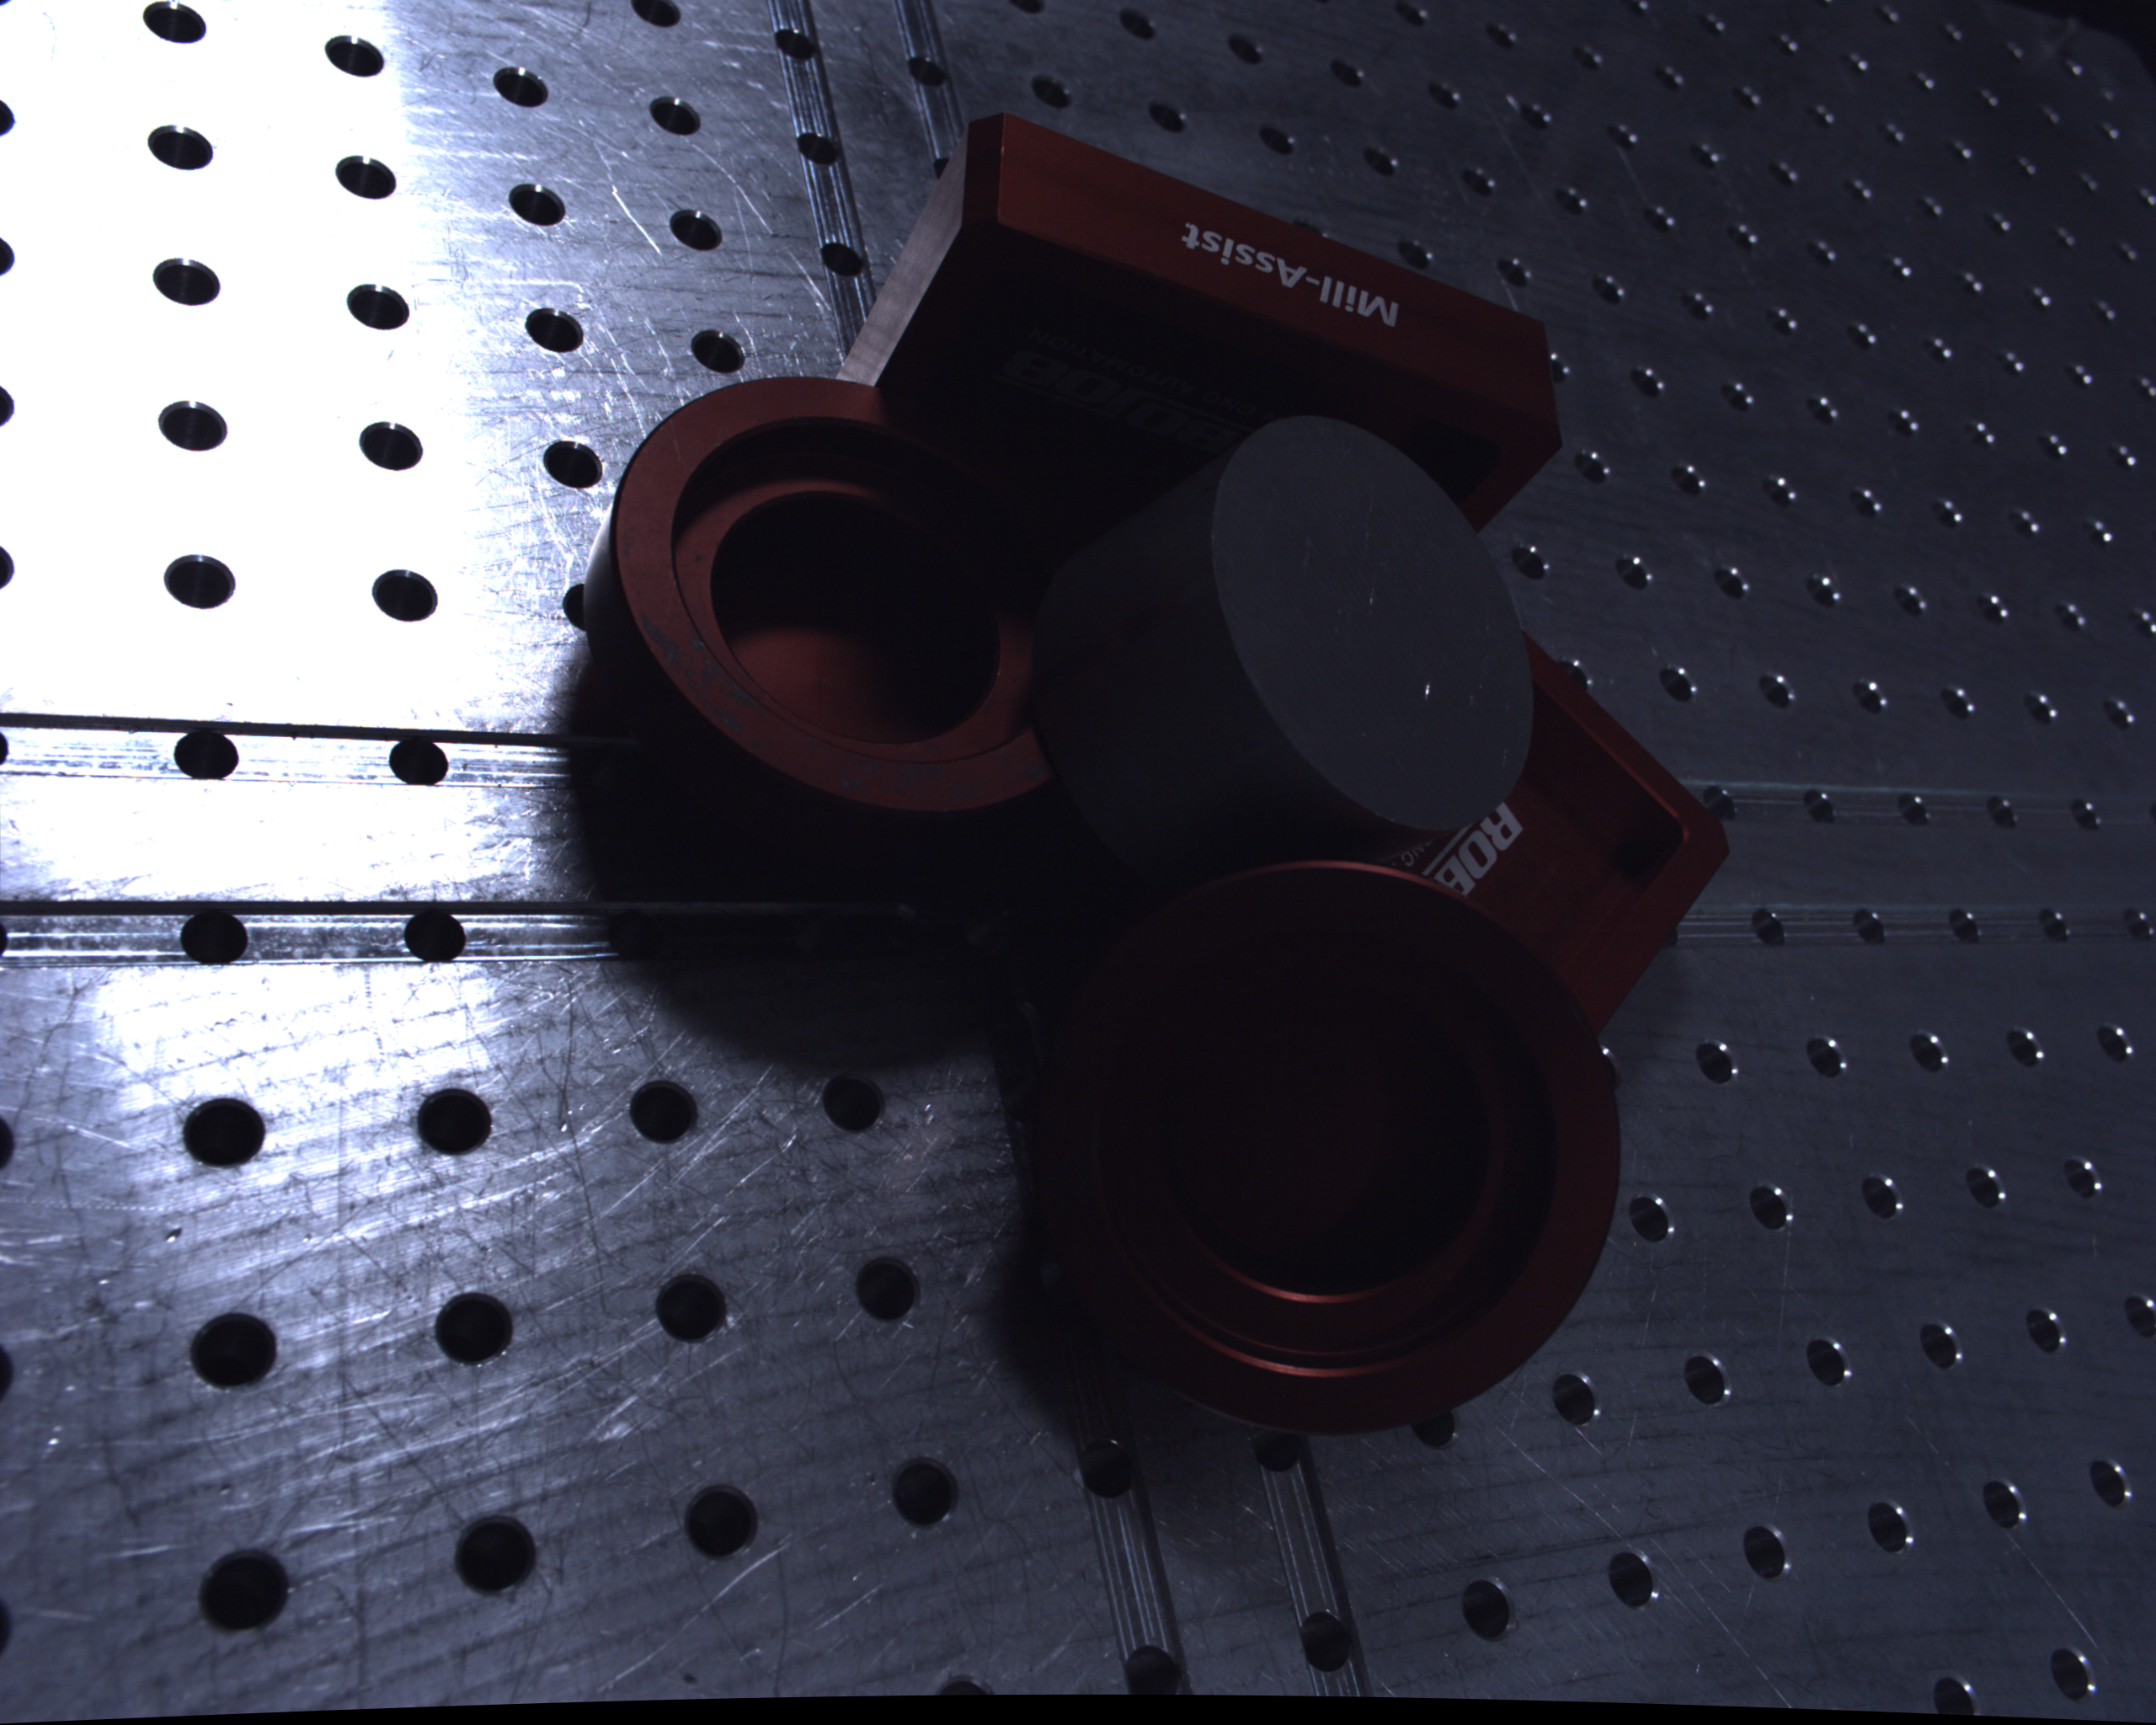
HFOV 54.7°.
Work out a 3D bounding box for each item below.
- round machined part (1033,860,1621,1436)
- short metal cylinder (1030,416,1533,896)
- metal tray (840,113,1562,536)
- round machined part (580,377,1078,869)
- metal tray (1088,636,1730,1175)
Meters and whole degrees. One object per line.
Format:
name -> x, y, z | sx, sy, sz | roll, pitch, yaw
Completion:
round machined part -> 0.043, 0.048, 0.371 | 0.099, 0.042, 0.097 | 0, 92, 5
short metal cylinder -> 0.038, -0.035, 0.388 | 0.081, 0.050, 0.080 | 18, 60, -34
metal tray -> 0.022, -0.093, 0.436 | 0.131, 0.090, 0.030 | 14, 56, -21
round machined part -> -0.046, -0.041, 0.399 | 0.099, 0.042, 0.098 | 14, 56, -21
metal tray -> 0.074, 0.004, 0.444 | 0.090, 0.030, 0.131 | 45, 51, 3
